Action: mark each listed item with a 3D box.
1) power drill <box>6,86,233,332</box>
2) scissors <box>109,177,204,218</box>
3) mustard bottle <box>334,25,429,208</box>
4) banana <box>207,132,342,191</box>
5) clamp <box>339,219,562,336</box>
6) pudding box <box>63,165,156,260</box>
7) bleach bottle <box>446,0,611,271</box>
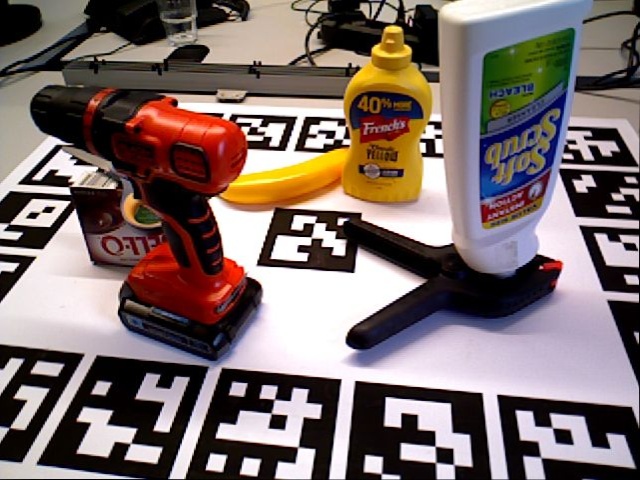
[{"bbox_3d":[-0.146,-0.026,0.423,0.185,0.191,0.056,12,36,19],"label":"power drill"},{"bbox_3d":[-0.200,-0.080,0.508,0.203,0.016,0.086,26,52,22],"label":"scissors"},{"bbox_3d":[0.066,-0.128,0.580,0.096,0.196,0.057,15,43,17],"label":"mustard bottle"},{"bbox_3d":[-0.038,-0.095,0.649,0.194,0.039,0.074,-22,28,-21],"label":"banana"},{"bbox_3d":[0.117,0.021,0.494,0.202,0.037,0.162,1,43,2],"label":"clamp"},{"bbox_3d":[-0.192,-0.025,0.544,0.114,0.092,0.038,8,35,10],"label":"pudding box"},{"bbox_3d":[0.152,-0.067,0.431,0.102,0.255,0.067,-12,37,-2],"label":"bleach bottle"}]
